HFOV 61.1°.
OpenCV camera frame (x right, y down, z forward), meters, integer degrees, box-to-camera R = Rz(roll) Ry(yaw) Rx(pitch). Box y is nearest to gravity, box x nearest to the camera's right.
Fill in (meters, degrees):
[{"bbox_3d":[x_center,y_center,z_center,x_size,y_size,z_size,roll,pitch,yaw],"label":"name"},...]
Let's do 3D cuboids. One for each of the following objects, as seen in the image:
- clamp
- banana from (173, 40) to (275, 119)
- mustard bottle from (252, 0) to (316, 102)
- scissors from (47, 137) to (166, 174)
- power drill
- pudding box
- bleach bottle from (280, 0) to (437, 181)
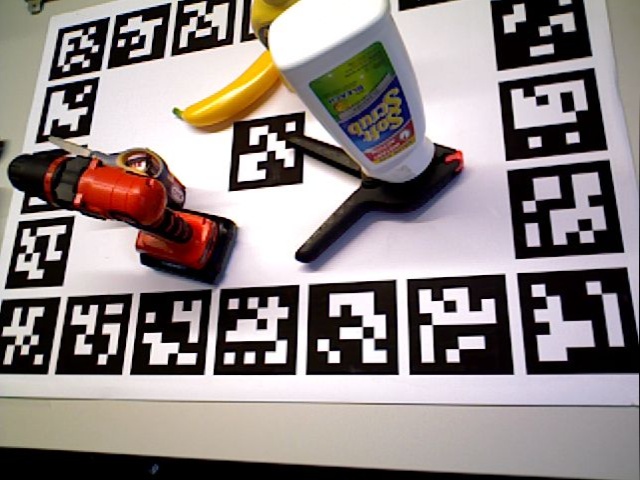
[{"bbox_3d":[0.056,-0.071,0.598,0.204,0.037,0.164,-10,72,14],"label":"clamp"},{"bbox_3d":[-0.108,-0.218,0.711,0.197,0.039,0.074,-41,48,2],"label":"banana"},{"bbox_3d":[-0.024,-0.233,0.615,0.096,0.192,0.058,11,74,20],"label":"mustard bottle"},{"bbox_3d":[-0.274,-0.101,0.634,0.203,0.016,0.087,23,85,19],"label":"scissors"},{"bbox_3d":[-0.216,-0.023,0.575,0.185,0.188,0.056,9,67,23],"label":"power drill"},{"bbox_3d":[-0.248,-0.073,0.687,0.114,0.091,0.038,1,64,18],"label":"pudding box"},{"bbox_3d":[0.062,-0.124,0.497,0.103,0.251,0.067,-24,61,16],"label":"bleach bottle"}]
